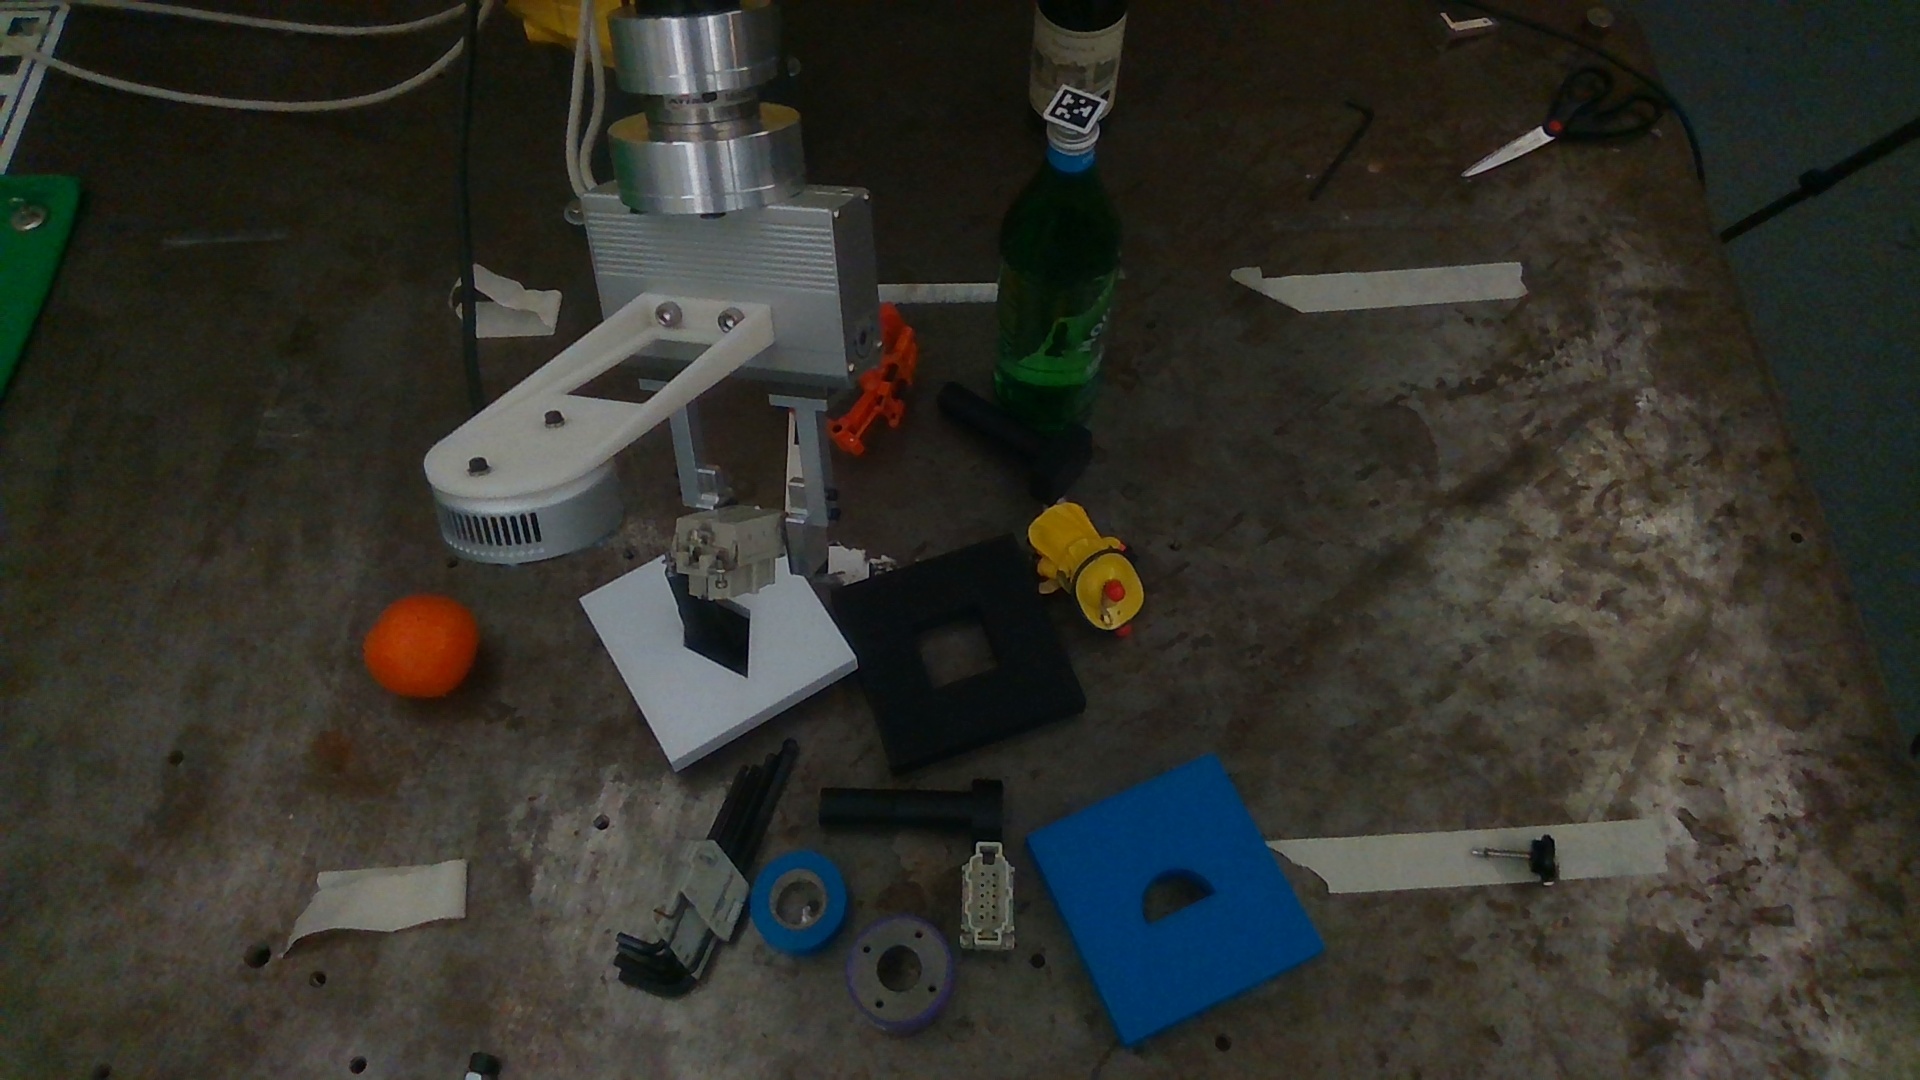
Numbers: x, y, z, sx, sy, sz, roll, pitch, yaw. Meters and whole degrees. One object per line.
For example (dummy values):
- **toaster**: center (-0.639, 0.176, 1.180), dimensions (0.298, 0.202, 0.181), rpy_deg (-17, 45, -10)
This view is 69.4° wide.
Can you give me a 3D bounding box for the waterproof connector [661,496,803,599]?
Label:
- **waterproof connector**: center (-0.101, 0.003, 0.623), dimensions (0.037, 0.069, 0.038), rpy_deg (7, 102, 23)
